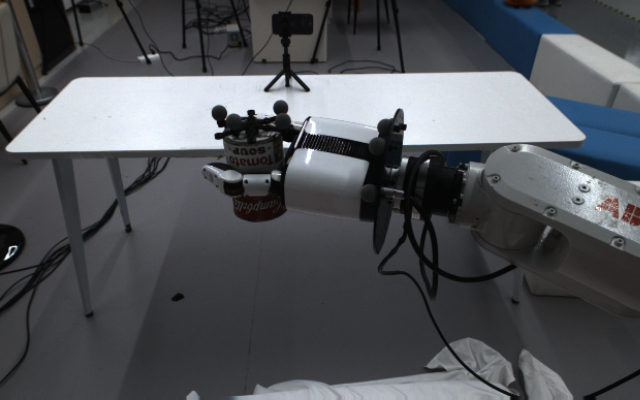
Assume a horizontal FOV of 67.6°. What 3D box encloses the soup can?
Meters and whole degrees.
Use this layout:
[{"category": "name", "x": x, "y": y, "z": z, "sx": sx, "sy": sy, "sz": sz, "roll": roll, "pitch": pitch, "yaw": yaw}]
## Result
[{"category": "soup can", "x": -0.071, "y": -0.034, "z": 0.562, "sx": 0.067, "sy": 0.101, "sz": 0.067, "roll": -2, "pitch": 32, "yaw": 1}]
